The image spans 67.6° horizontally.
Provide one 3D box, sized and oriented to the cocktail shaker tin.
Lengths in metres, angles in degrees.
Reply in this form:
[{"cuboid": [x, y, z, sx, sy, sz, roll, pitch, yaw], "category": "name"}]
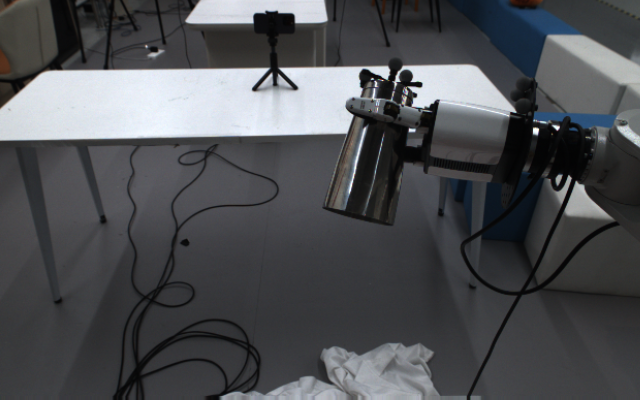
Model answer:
[{"cuboid": [0.070, -0.062, 0.620, 0.093, 0.170, 0.093, 15, -5, 1], "category": "cocktail shaker tin"}]
